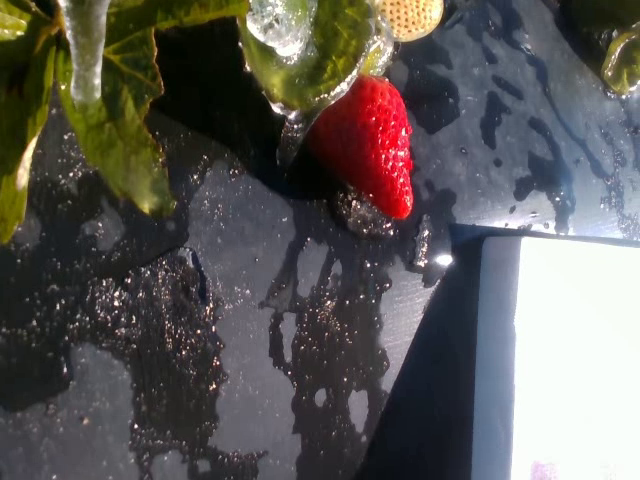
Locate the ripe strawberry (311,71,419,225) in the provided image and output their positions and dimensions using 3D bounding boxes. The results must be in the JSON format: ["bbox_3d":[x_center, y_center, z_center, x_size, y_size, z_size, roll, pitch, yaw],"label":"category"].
[{"bbox_3d":[0.025,-0.031,0.199,0.041,0.052,0.040,-17,2,-33],"label":"ripe strawberry"}]
